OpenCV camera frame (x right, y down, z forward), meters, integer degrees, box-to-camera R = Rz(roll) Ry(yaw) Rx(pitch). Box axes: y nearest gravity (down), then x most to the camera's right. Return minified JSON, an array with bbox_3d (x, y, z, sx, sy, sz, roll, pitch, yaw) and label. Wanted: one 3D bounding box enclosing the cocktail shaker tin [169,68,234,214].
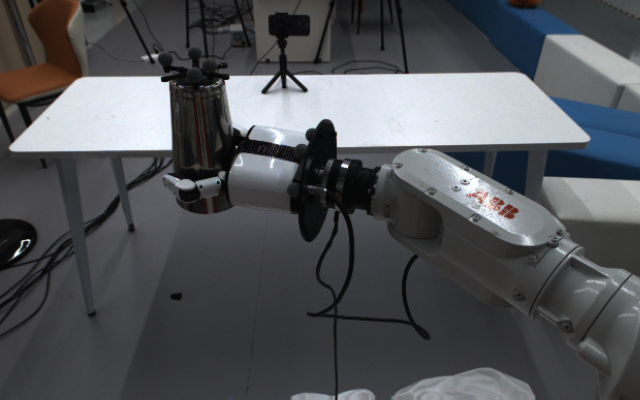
[{"bbox_3d":[-0.152,-0.077,0.634,0.093,0.170,0.093,2,35,-1],"label":"cocktail shaker tin"}]
